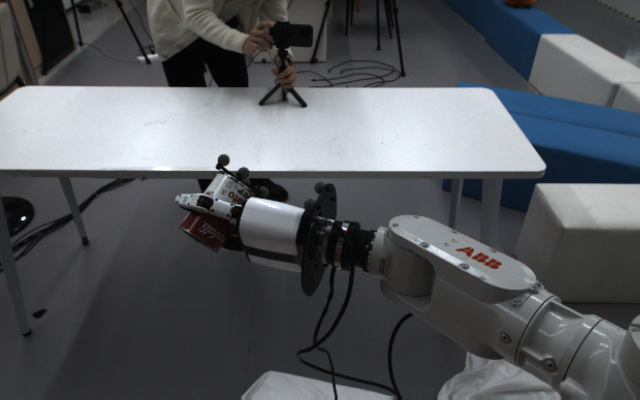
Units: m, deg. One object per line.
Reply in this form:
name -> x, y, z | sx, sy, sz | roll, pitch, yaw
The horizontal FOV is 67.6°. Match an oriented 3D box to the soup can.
soup can -> -0.150, 0.019, 0.709 | 0.067, 0.067, 0.101 | 25, 73, 29
